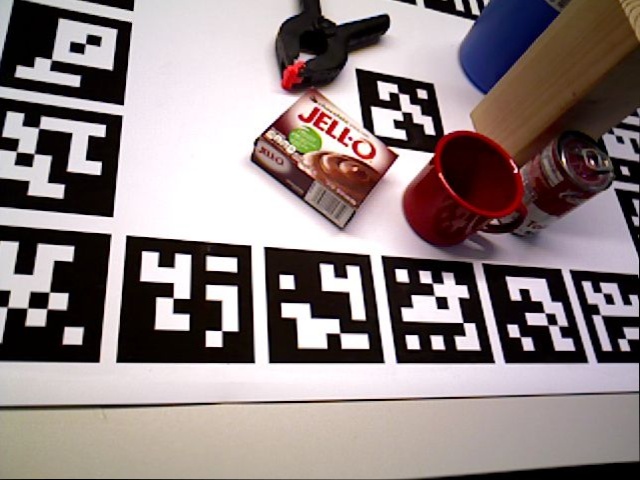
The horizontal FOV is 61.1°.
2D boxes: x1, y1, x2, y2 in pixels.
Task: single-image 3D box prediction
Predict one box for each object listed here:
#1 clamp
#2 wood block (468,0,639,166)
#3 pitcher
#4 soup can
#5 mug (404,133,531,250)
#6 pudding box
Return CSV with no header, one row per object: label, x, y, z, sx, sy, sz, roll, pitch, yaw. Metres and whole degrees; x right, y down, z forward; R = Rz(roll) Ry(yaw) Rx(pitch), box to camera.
clamp,0.001,-0.219,0.583,0.121,0.037,0.162,34,58,-11
wood block,0.256,-0.155,0.538,0.088,0.211,0.090,3,63,-24
pitcher,0.273,-0.269,0.583,0.186,0.248,0.132,3,61,-17
soup can,0.230,-0.052,0.539,0.067,0.104,0.067,8,64,-18
mug,0.142,-0.037,0.511,0.117,0.083,0.091,35,55,0
pudding box,-0.002,-0.079,0.505,0.114,0.039,0.088,37,61,0
